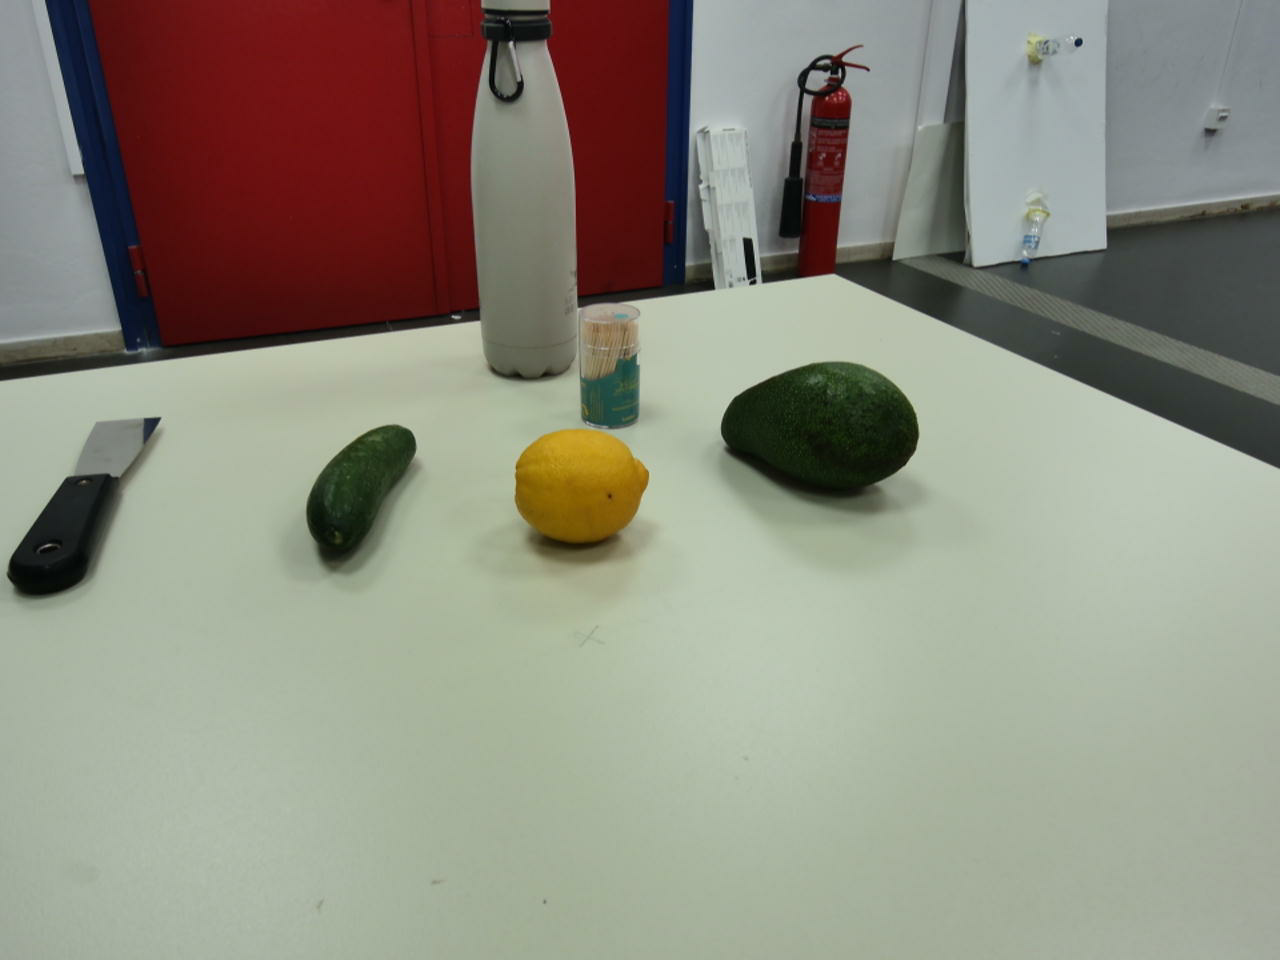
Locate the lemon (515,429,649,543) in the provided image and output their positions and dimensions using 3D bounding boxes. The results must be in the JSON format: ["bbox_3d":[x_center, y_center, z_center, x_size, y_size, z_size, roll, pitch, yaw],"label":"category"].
[{"bbox_3d":[-0.032,0.004,0.522,0.067,0.059,0.060,9,27,15],"label":"lemon"}]
